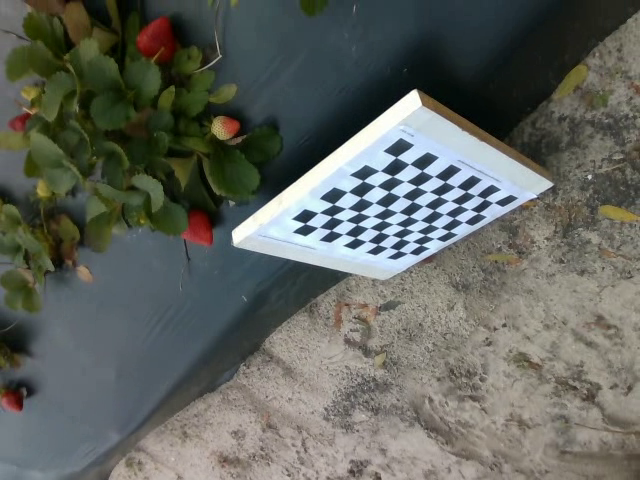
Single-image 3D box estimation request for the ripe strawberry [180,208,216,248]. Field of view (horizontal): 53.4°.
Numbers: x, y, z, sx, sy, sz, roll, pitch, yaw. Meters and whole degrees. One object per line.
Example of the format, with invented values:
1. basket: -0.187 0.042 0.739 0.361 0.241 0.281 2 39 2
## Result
1. ripe strawberry: -0.125 -0.011 0.611 0.046 0.037 0.037 37 -18 12
